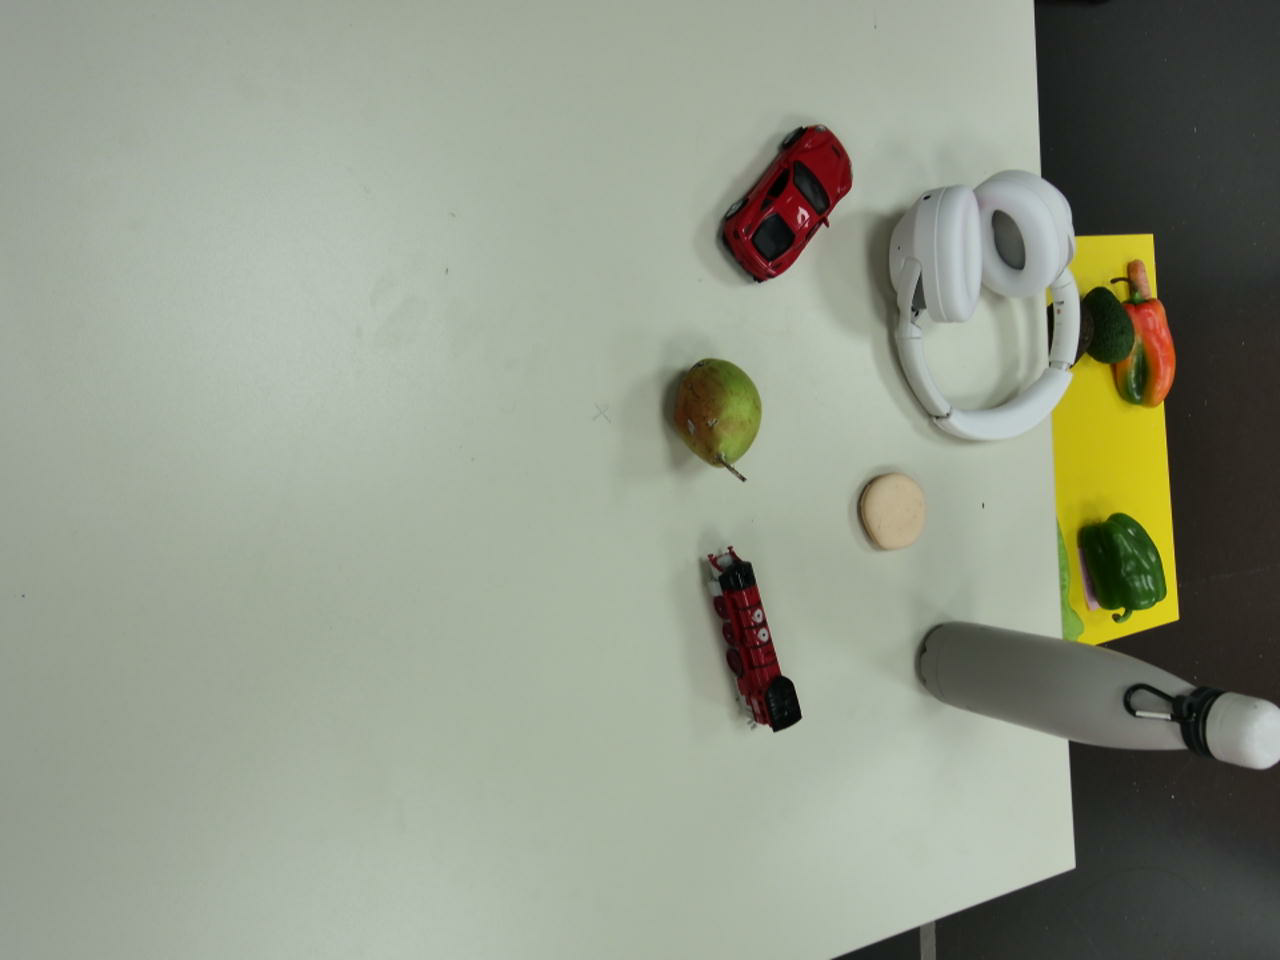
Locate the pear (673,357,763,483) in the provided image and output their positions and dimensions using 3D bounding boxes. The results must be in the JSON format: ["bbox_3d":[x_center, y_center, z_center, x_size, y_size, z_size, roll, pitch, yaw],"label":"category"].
[{"bbox_3d":[0.054,-0.047,0.697,0.070,0.069,0.068,-47,111,-20],"label":"pear"}]
